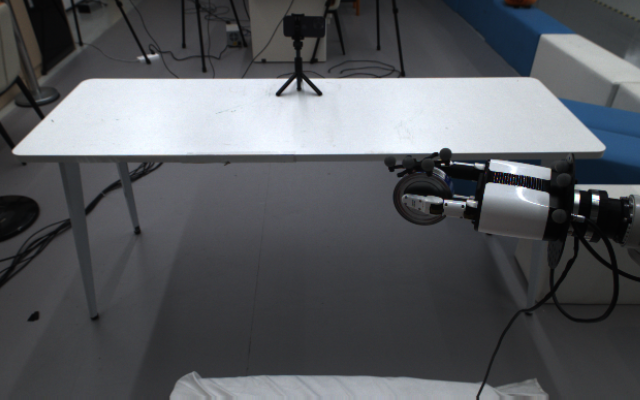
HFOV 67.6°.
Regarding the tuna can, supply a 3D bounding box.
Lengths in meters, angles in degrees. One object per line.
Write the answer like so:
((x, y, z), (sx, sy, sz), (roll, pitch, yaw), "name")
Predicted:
((0.154, -0.009, 0.713), (0.085, 0.085, 0.034), (13, 29, 15), "tuna can")
